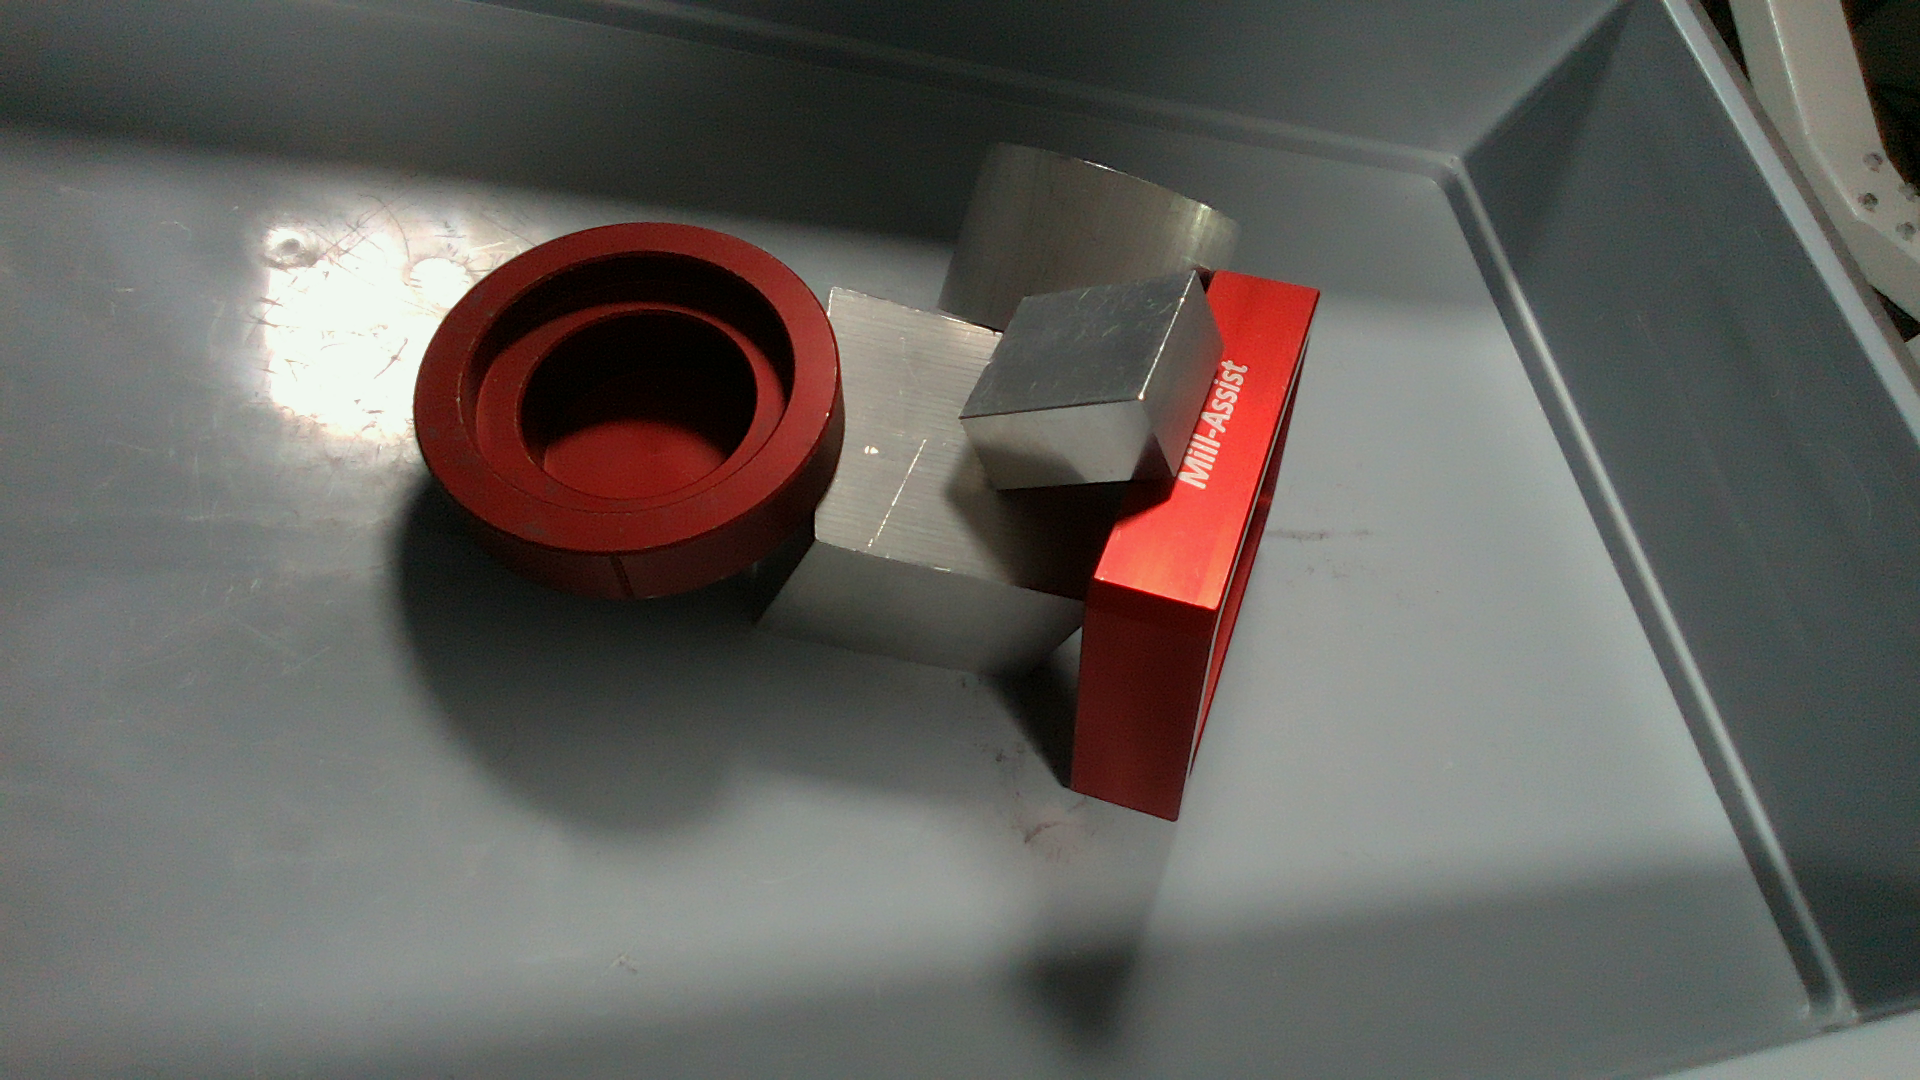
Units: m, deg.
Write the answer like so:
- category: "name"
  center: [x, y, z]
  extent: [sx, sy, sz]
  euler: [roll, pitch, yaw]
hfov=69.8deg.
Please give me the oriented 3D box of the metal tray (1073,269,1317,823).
- category: "metal tray"
  center: [0.066, -0.001, 0.380]
  extent: [0.030, 0.090, 0.130]
  euler: [14, 50, 14]

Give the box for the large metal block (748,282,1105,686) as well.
- category: "large metal block"
  center: [-0.008, -0.013, 0.376]
  extent: [0.080, 0.050, 0.080]
  euler: [14, 56, -21]

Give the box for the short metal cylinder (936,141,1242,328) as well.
- category: "short metal cylinder"
  center: [0.038, -0.082, 0.416]
  extent: [0.080, 0.080, 0.050]
  euler: [15, 100, -20]

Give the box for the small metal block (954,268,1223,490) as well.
- category: "small metal block"
  center: [0.034, -0.040, 0.349]
  extent: [0.025, 0.050, 0.050]
  euler: [60, 41, -35]

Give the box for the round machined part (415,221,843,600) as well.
- category: "round machined part"
  center: [-0.077, -0.028, 0.338]
  extent: [0.098, 0.042, 0.098]
  euler: [1, 59, -1]
